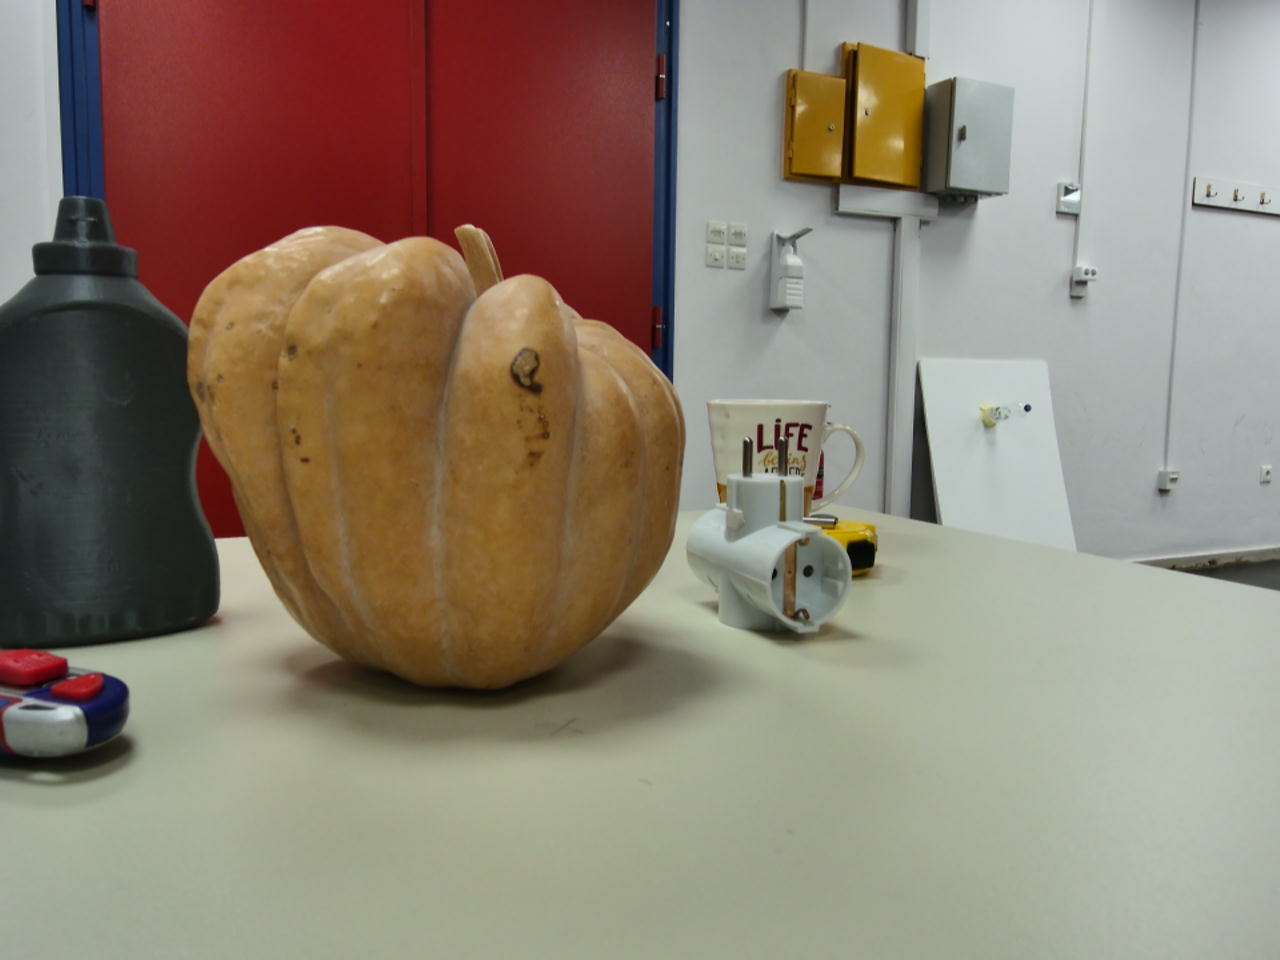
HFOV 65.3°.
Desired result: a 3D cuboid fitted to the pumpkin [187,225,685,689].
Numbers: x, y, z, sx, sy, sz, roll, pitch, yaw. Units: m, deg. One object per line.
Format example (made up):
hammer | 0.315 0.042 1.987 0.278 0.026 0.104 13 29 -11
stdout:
pumpkin | -0.077 -0.010 0.398 0.199 0.177 0.198 0 4 0
